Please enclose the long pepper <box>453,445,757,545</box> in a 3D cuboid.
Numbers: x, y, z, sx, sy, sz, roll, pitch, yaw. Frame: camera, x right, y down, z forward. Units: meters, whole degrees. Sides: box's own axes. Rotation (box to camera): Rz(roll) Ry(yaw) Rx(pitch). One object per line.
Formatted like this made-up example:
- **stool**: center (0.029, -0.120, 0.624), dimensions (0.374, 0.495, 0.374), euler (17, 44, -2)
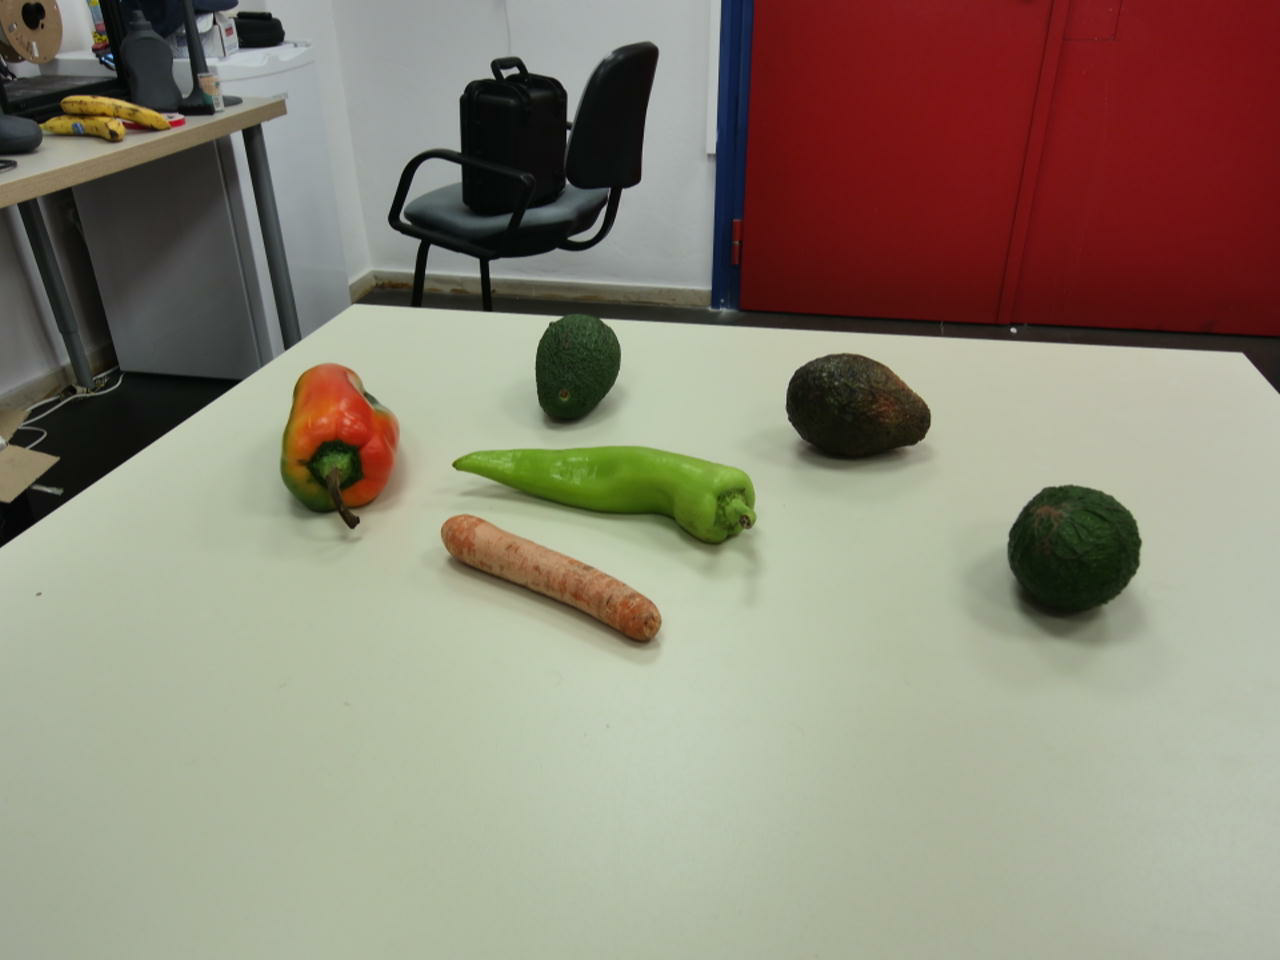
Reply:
- **long pepper**: center (-0.014, 0.000, 0.612), dimensions (0.205, 0.045, 0.065), euler (14, 29, 25)
